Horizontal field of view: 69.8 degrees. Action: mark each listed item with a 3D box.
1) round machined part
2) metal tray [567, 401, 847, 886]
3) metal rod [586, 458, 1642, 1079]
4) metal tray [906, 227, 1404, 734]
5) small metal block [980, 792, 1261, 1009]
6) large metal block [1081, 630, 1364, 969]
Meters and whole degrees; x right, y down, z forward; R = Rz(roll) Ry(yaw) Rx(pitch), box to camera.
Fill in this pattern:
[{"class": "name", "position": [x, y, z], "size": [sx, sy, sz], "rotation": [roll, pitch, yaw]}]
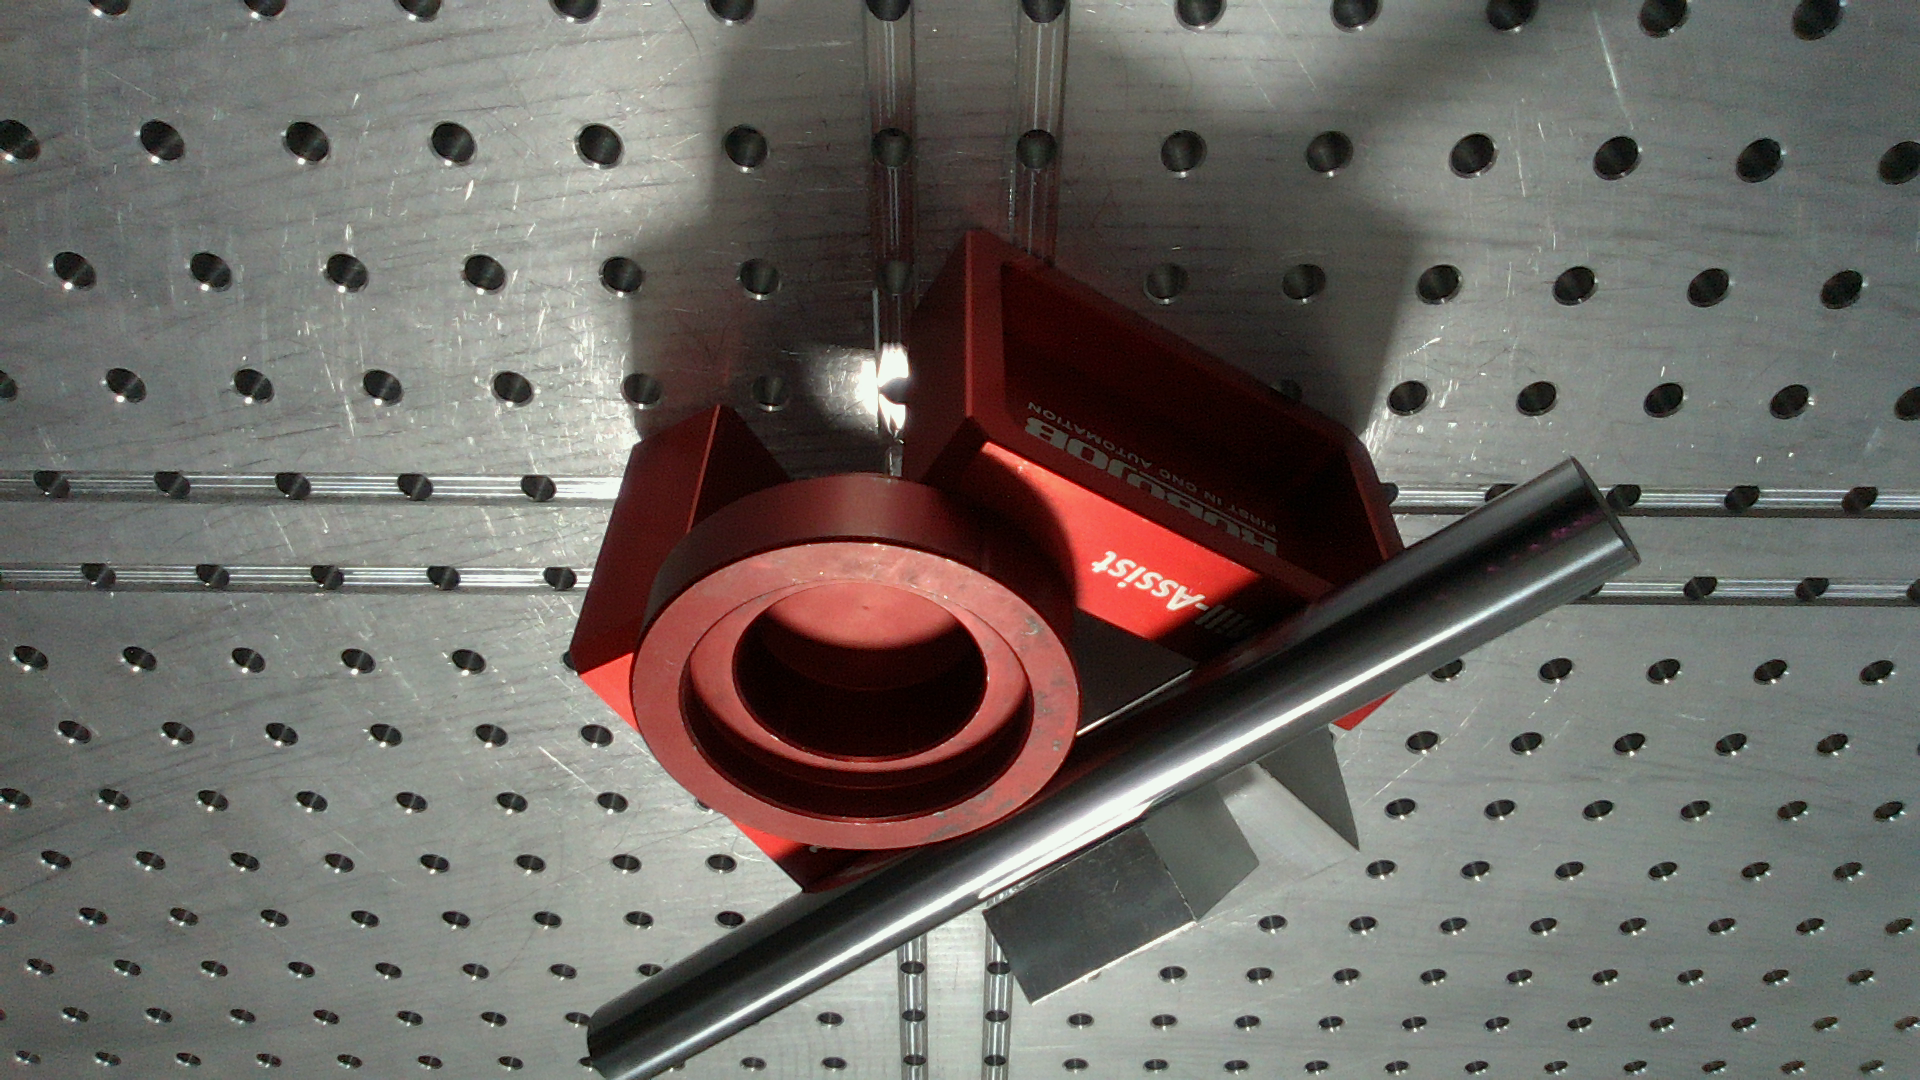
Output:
[{"class": "round machined part", "position": [-0.022, 0.023, 0.312], "size": [0.098, 0.042, 0.098], "rotation": [0, 130, 0]}, {"class": "metal tray", "position": [-0.047, 0.037, 0.382], "size": [0.030, 0.090, 0.130], "rotation": [-23, 127, 18]}, {"class": "metal rod", "position": [0.015, 0.070, 0.334], "size": [0.299, 0.025, 0.025], "rotation": [-34, 122, 25]}, {"class": "metal tray", "position": [0.051, -0.016, 0.337], "size": [0.130, 0.090, 0.030], "rotation": [25, 127, -20]}, {"class": "small metal block", "position": [0.041, 0.087, 0.344], "size": [0.050, 0.050, 0.025], "rotation": [-35, 77, 26]}, {"class": "large metal block", "position": [0.064, 0.067, 0.411], "size": [0.080, 0.080, 0.050], "rotation": [-34, 122, 25]}]
